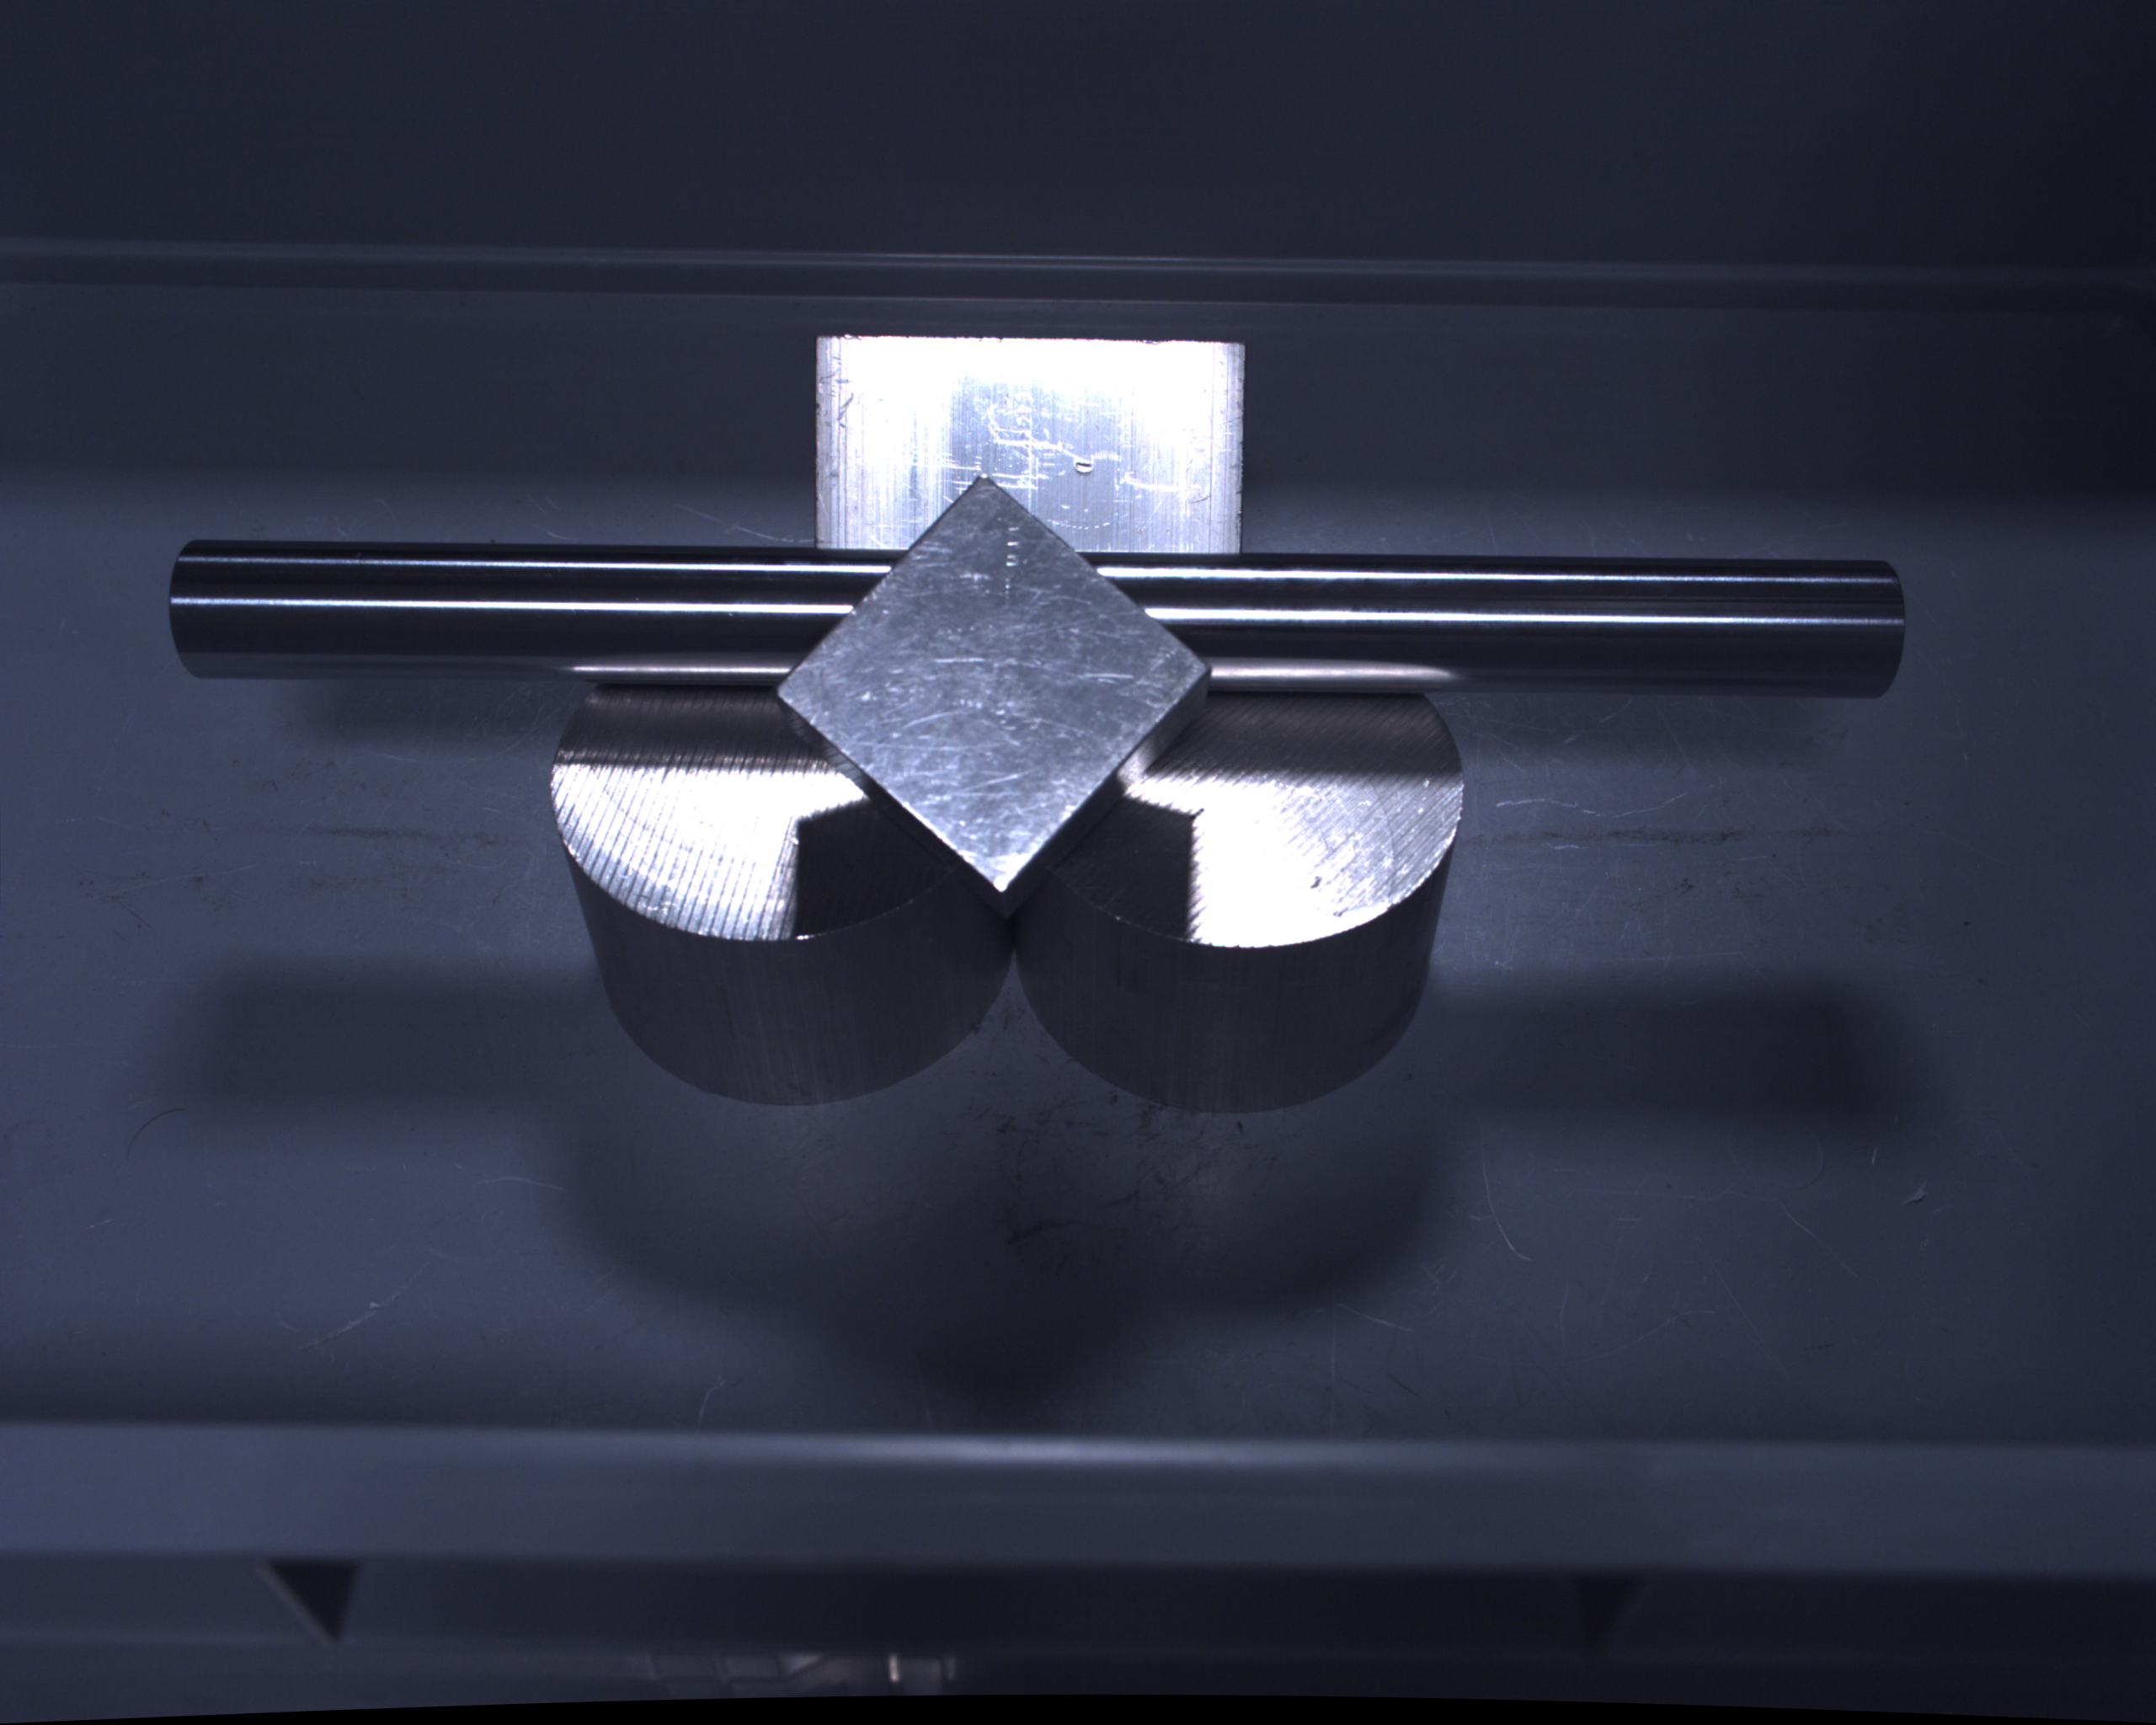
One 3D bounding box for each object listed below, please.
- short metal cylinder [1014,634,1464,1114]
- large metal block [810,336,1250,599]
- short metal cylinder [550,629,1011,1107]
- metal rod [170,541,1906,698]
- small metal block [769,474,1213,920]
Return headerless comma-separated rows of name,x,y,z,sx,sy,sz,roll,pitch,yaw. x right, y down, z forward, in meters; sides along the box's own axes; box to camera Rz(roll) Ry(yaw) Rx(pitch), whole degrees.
short metal cylinder,0.028,0.000,0.388,0.081,0.050,0.080,0,50,0
large metal block,-0.009,-0.076,0.424,0.081,0.050,0.080,1,7,0
short metal cylinder,-0.053,-0.002,0.388,0.081,0.050,0.080,0,50,0
metal rod,-0.007,-0.044,0.375,0.302,0.025,0.025,1,50,0
small metal block,-0.014,-0.027,0.347,0.050,0.025,0.050,41,81,7
